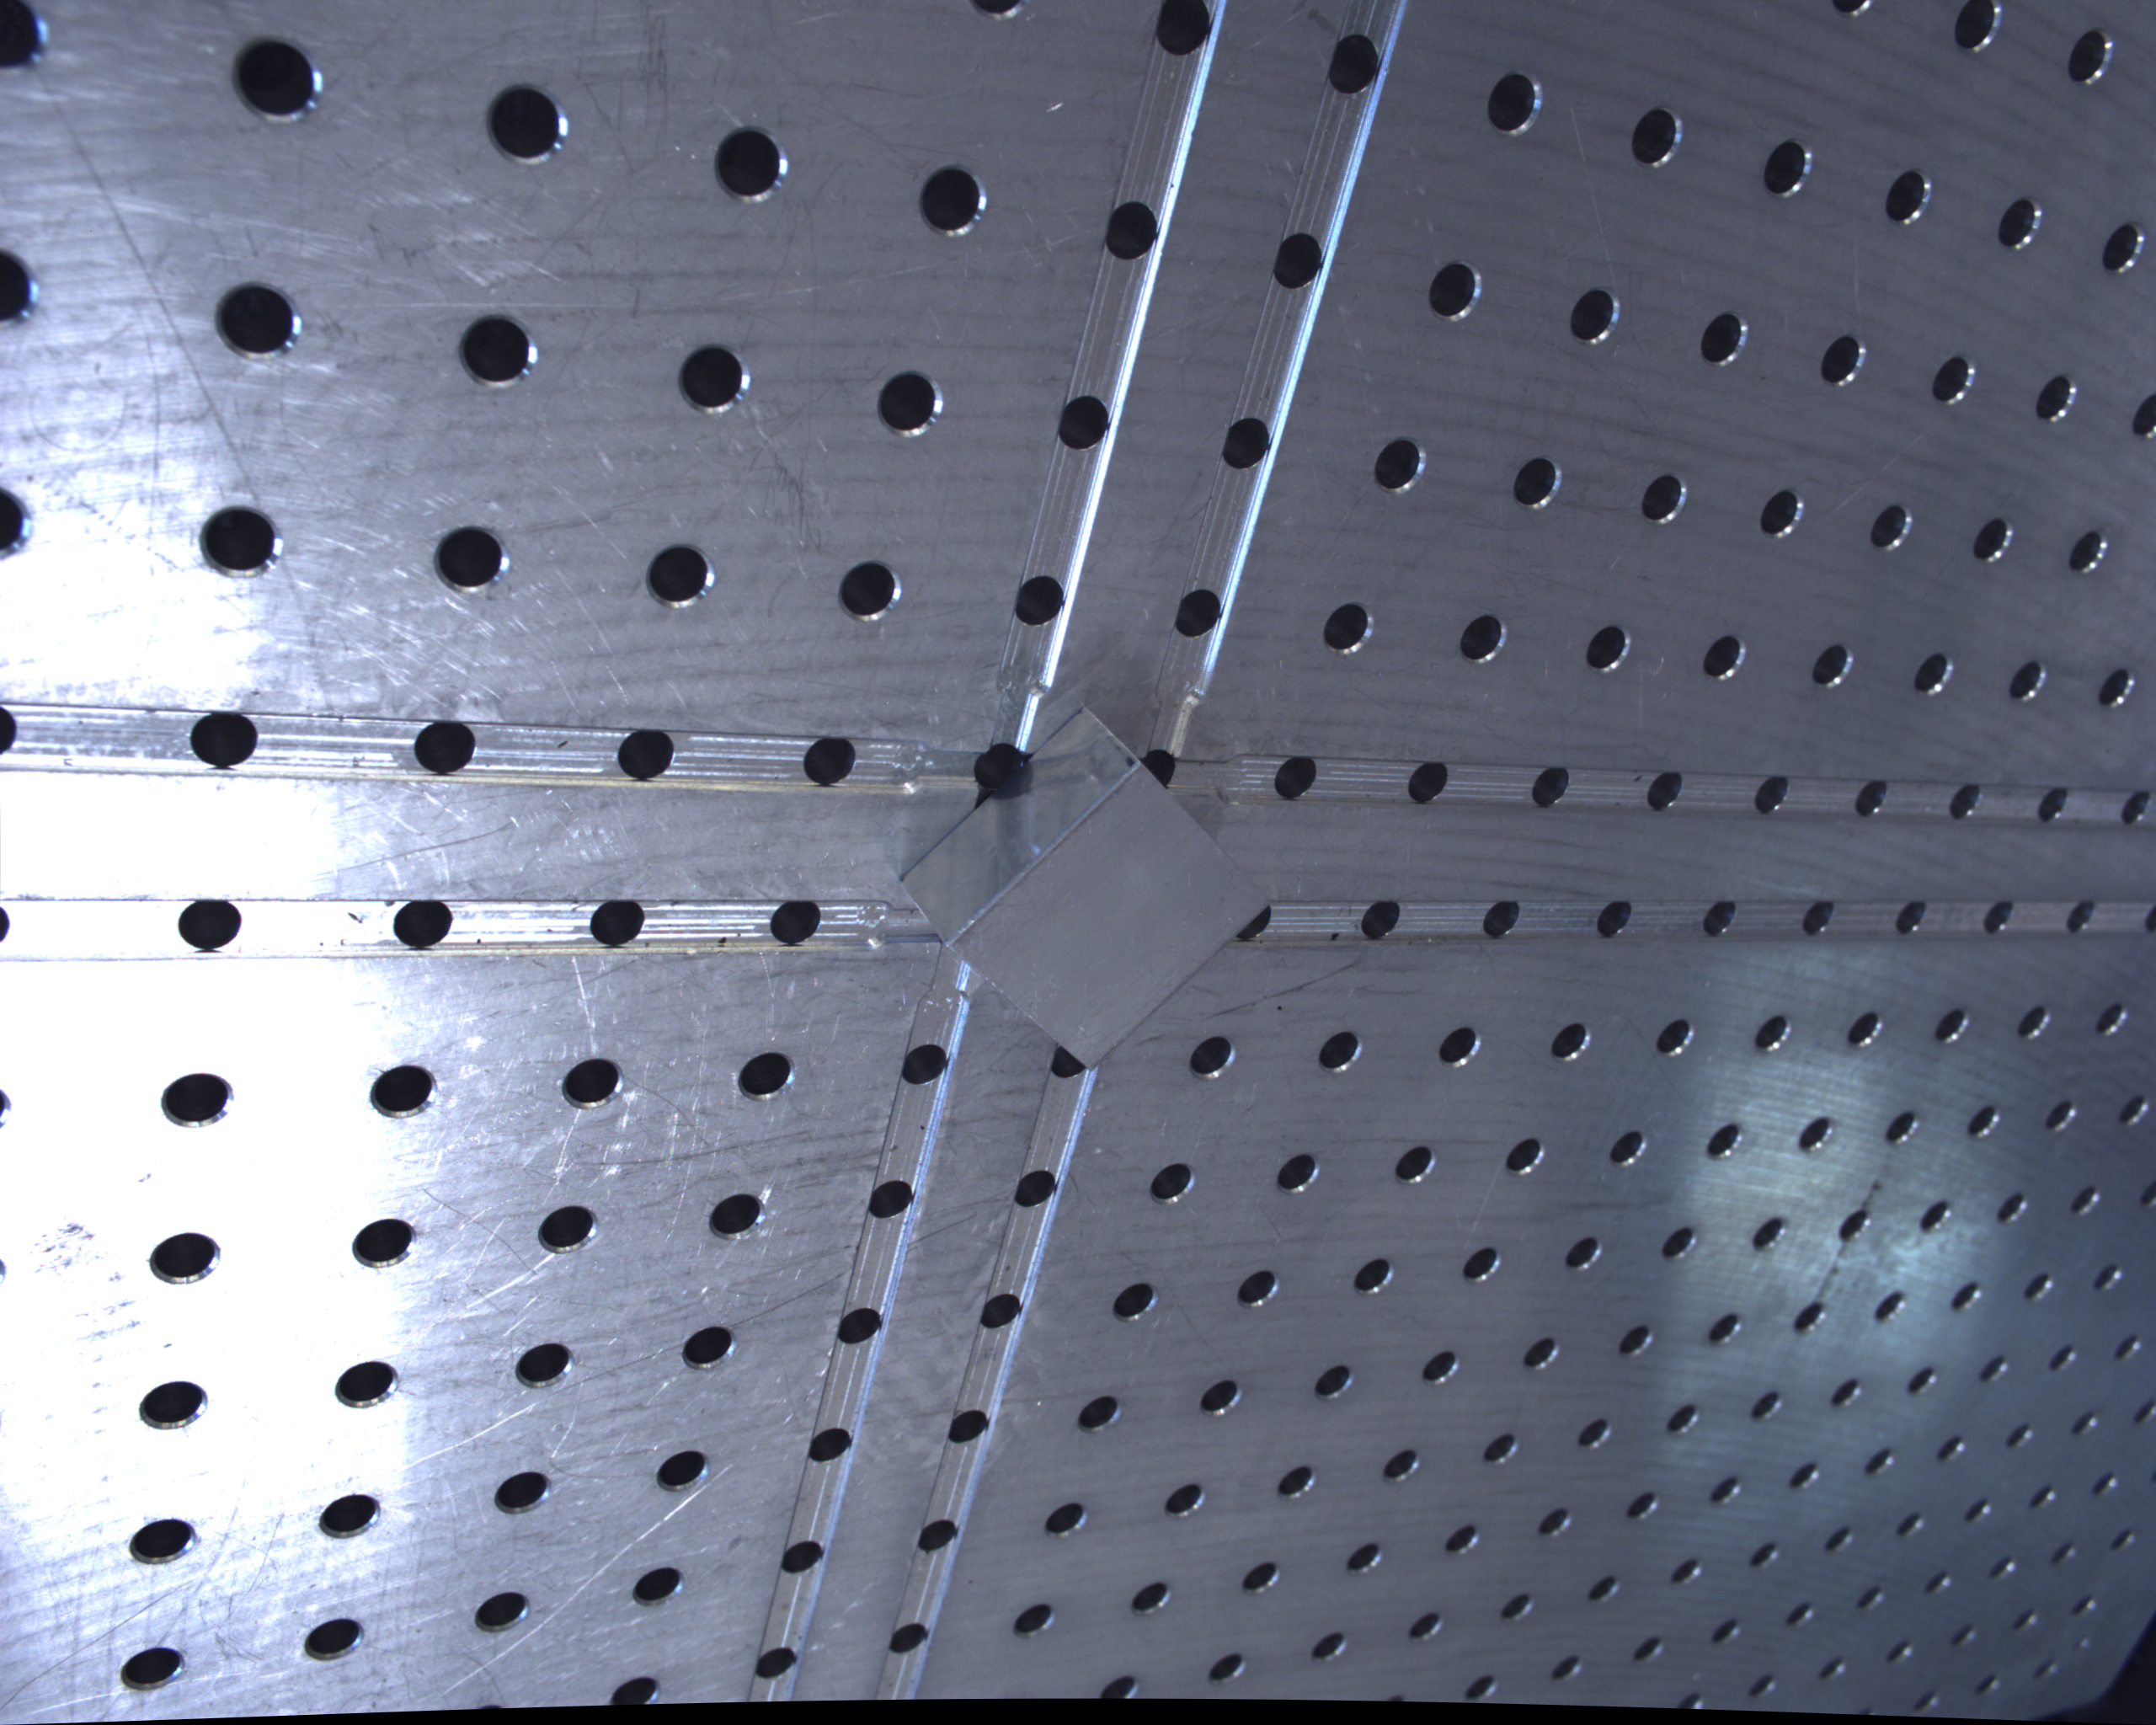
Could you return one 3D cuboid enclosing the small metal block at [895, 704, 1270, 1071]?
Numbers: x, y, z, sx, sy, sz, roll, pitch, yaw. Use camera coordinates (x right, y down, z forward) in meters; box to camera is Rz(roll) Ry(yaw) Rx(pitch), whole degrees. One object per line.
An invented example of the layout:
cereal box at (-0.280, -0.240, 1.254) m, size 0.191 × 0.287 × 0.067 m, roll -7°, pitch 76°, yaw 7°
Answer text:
small metal block at (0.001, 0.006, 0.415) m, size 0.050 × 0.025 × 0.050 m, roll -44°, pitch 130°, yaw 2°
